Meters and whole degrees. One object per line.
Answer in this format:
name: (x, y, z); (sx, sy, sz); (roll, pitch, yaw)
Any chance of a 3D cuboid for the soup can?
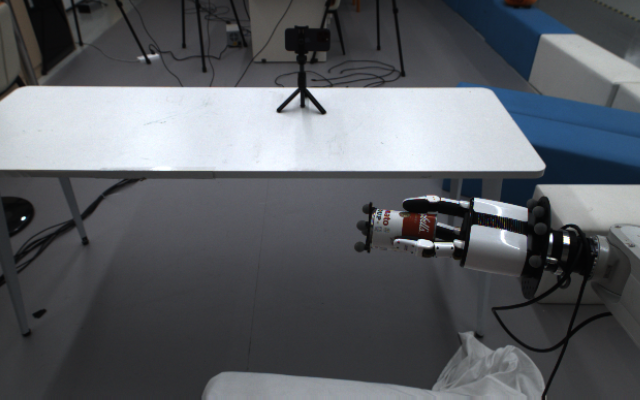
soup can: (0.138, 0.052, 0.786); (0.101, 0.067, 0.067); (5, 34, 13)
